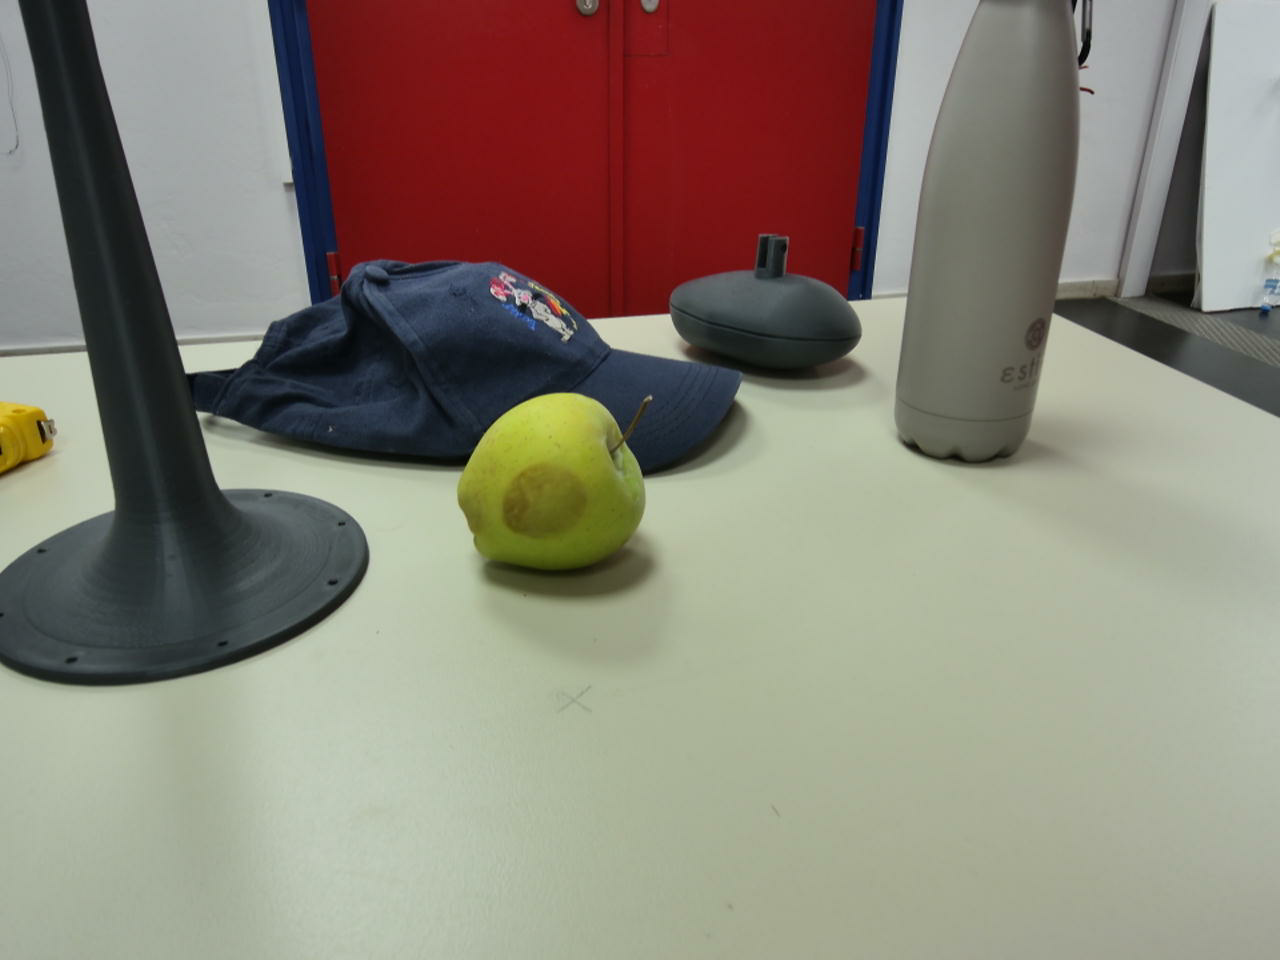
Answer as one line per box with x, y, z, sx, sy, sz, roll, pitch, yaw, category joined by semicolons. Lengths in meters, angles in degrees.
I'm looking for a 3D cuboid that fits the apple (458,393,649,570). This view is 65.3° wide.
-0.036;0.000;0.428;0.077;0.075;0.072;15;28;28;apple
